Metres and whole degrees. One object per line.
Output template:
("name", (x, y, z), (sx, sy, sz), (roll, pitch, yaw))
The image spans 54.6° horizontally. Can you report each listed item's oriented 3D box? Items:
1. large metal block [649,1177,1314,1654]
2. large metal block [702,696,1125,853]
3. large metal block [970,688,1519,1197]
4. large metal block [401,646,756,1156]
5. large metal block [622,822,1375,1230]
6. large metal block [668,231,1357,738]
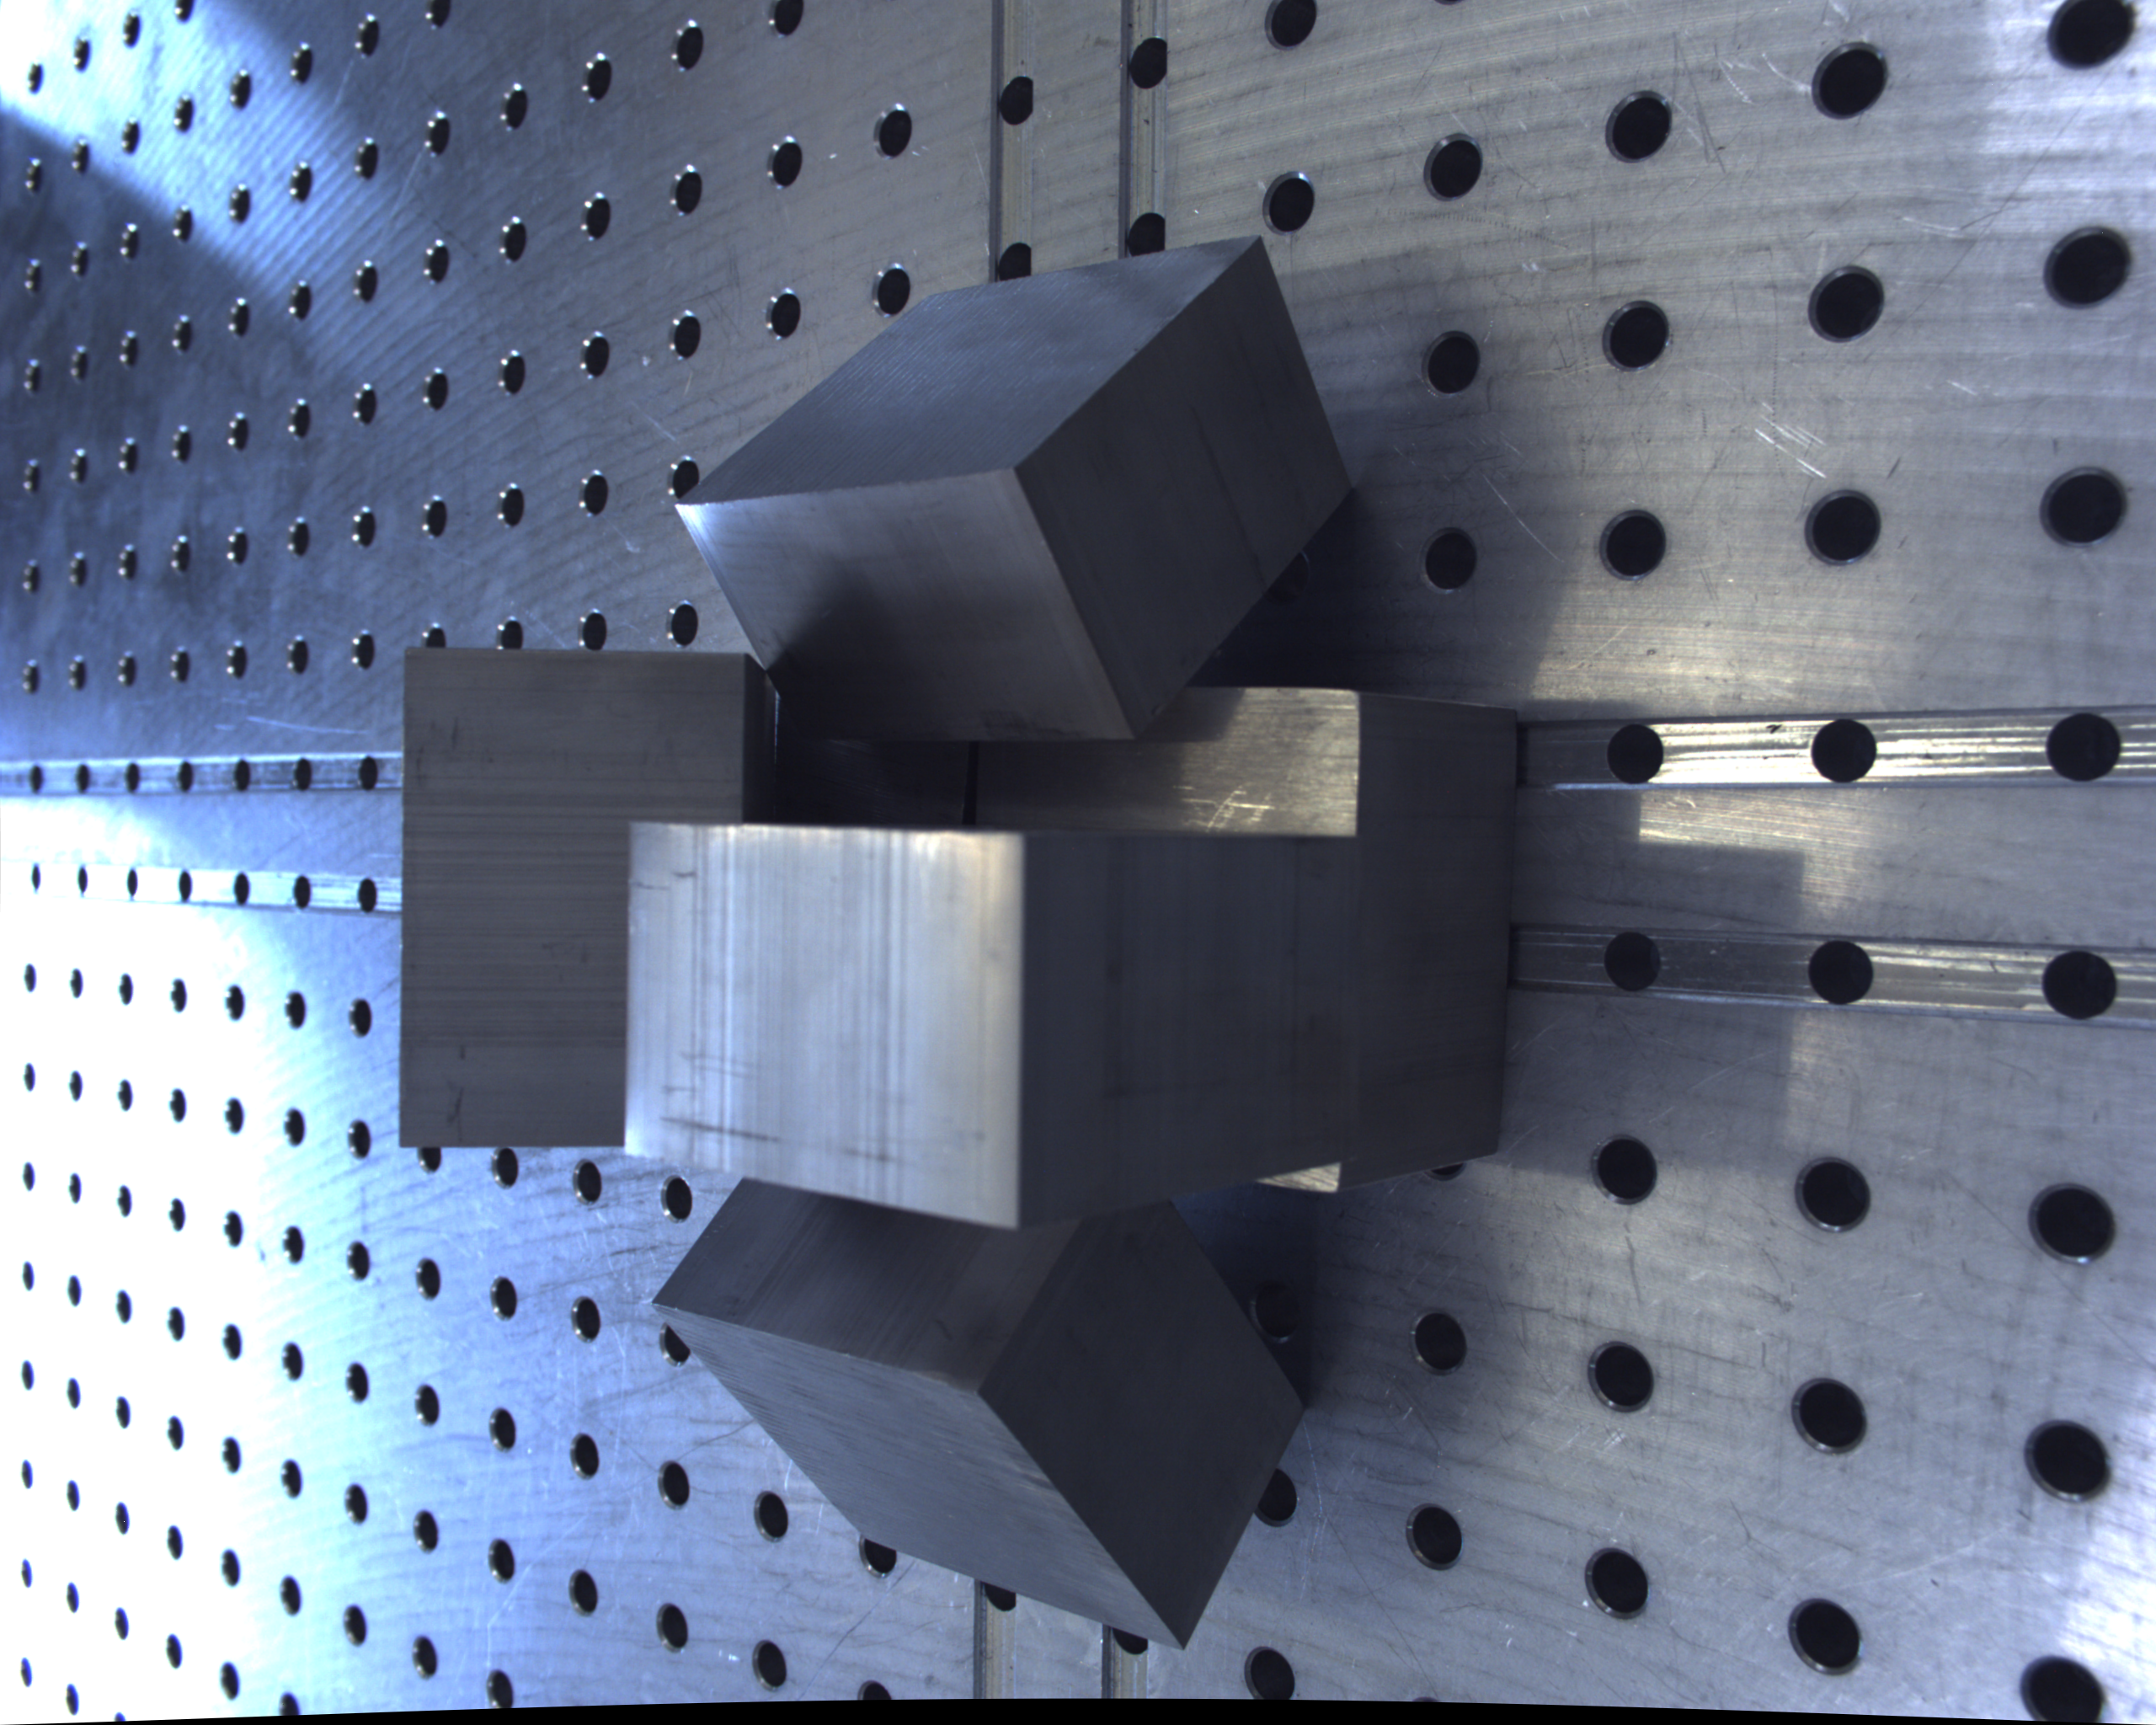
("large metal block", (-0.016, 0.091, 0.380), (0.080, 0.050, 0.080), (3, 137, 40))
("large metal block", (-0.036, 0.006, 0.425), (0.080, 0.050, 0.080), (9, 96, 39))
("large metal block", (0.028, 0.010, 0.370), (0.080, 0.050, 0.080), (4, 93, 40))
("large metal block", (-0.084, 0.005, 0.368), (0.050, 0.080, 0.080), (1, 91, -5))
("large metal block", (-0.011, 0.020, 0.318), (0.080, 0.081, 0.050), (2, 91, 40))
("large metal block", (-0.010, -0.066, 0.373), (0.080, 0.080, 0.050), (3, 130, 40))
